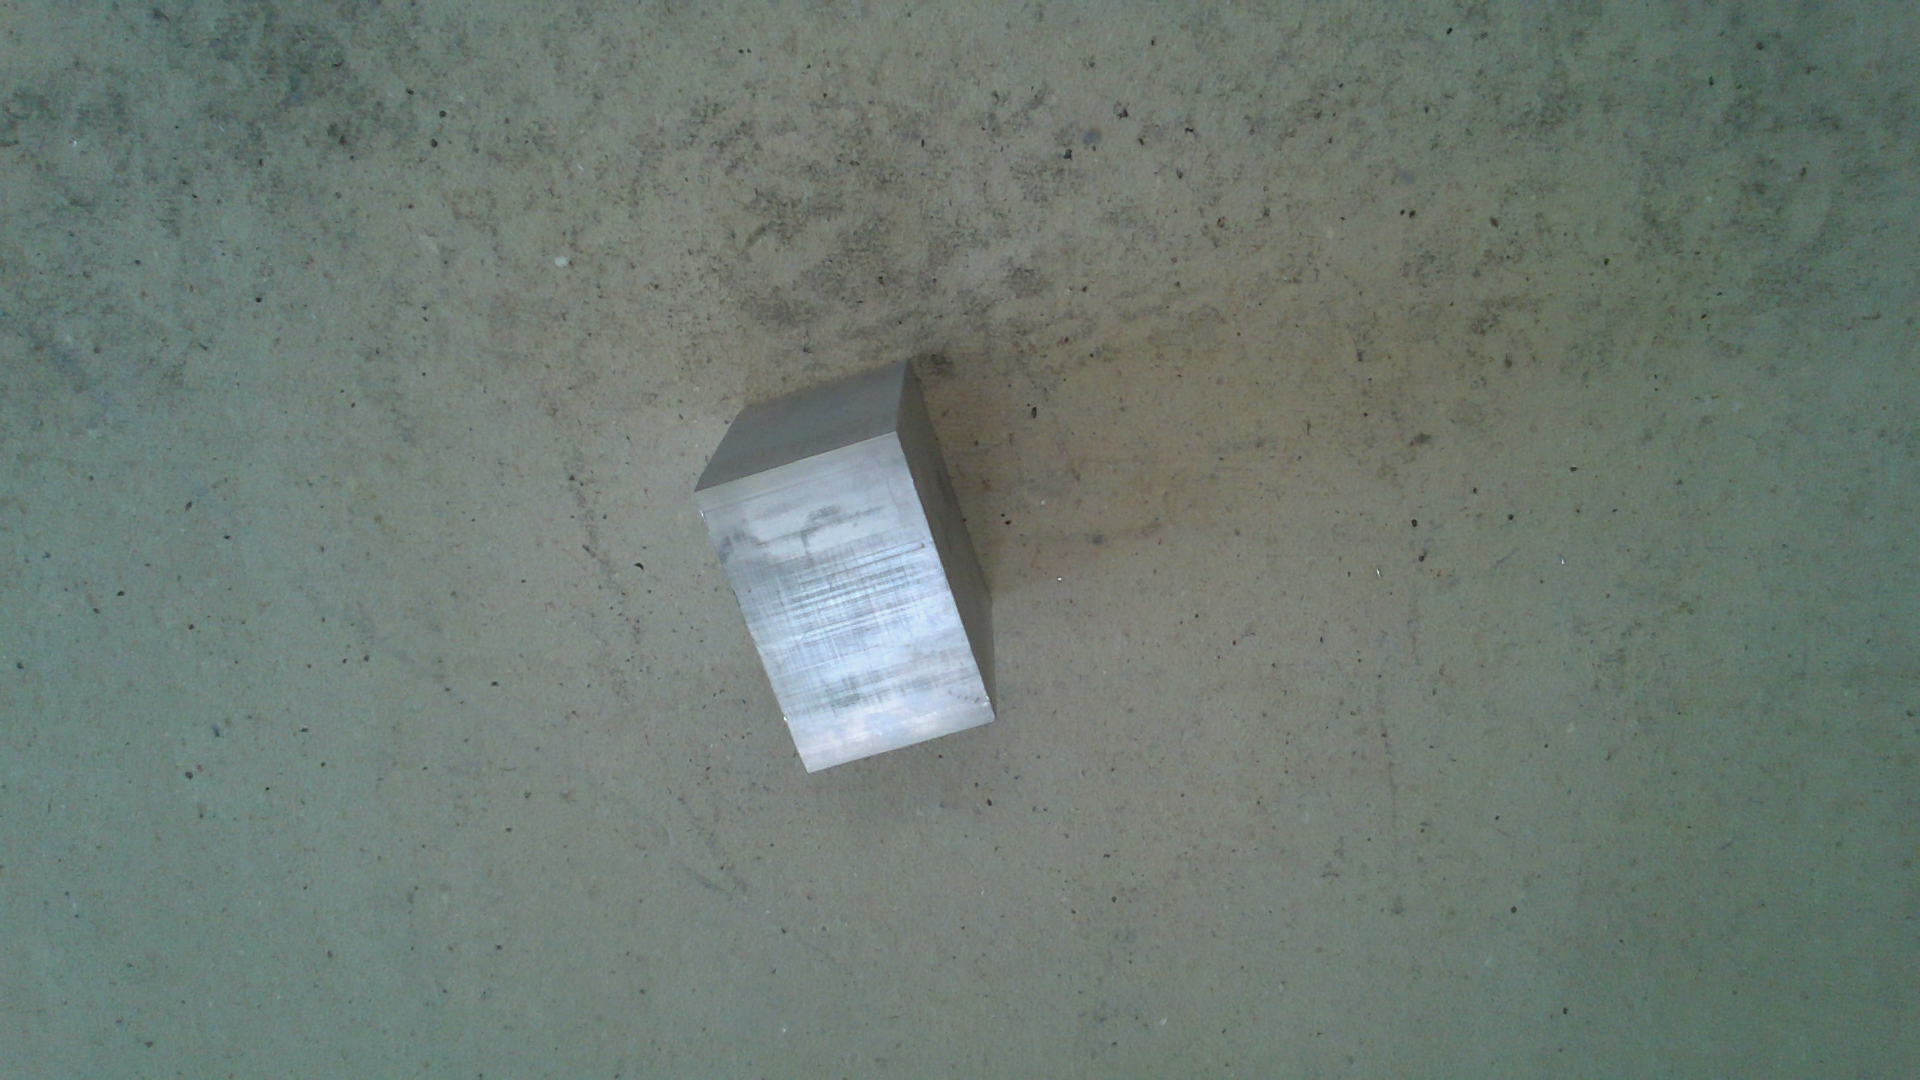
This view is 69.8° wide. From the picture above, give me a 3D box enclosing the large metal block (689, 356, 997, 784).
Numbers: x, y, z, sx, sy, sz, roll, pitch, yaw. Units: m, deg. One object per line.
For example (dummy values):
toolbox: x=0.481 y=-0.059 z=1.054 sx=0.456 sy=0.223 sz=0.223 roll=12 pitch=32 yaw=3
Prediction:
large metal block: x=-0.027 y=0.004 z=0.366 sx=0.050 sy=0.080 sz=0.080 roll=-16 pitch=109 yaw=6
